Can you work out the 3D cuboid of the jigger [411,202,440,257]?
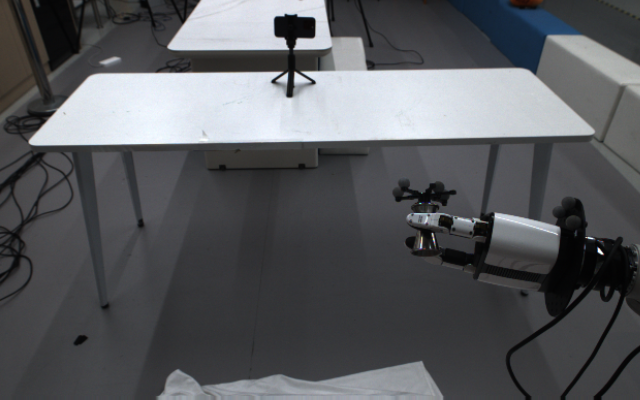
[{"bbox_3d":[0.147,0.040,0.681,0.043,0.043,0.071,3,72,1],"label":"jigger"}]
